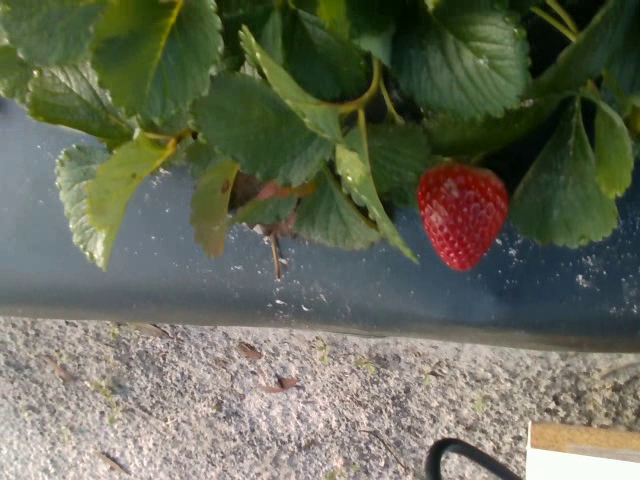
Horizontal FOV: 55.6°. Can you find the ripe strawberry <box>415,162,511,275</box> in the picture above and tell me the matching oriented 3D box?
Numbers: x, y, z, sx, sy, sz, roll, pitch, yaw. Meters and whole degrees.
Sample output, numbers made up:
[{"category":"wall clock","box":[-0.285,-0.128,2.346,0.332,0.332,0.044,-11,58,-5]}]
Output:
[{"category":"ripe strawberry","box":[0.027,-0.004,0.116,0.018,0.023,0.020,10,21,37]}]
